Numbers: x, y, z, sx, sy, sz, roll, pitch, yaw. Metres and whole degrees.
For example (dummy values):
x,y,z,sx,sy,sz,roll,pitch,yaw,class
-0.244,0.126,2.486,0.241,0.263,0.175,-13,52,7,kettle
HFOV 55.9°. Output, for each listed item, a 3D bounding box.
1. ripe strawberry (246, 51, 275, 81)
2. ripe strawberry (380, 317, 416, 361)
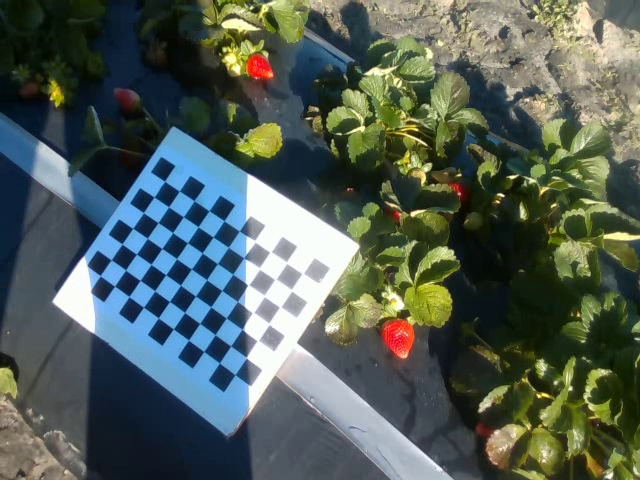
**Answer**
x,y,z,sx,sy,sz,roll,pitch,yaw,class
-0.098,-0.295,1.040,0.064,0.050,0.052,40,-1,24,ripe strawberry
0.097,0.125,0.745,0.048,0.055,0.030,-13,-13,8,ripe strawberry
